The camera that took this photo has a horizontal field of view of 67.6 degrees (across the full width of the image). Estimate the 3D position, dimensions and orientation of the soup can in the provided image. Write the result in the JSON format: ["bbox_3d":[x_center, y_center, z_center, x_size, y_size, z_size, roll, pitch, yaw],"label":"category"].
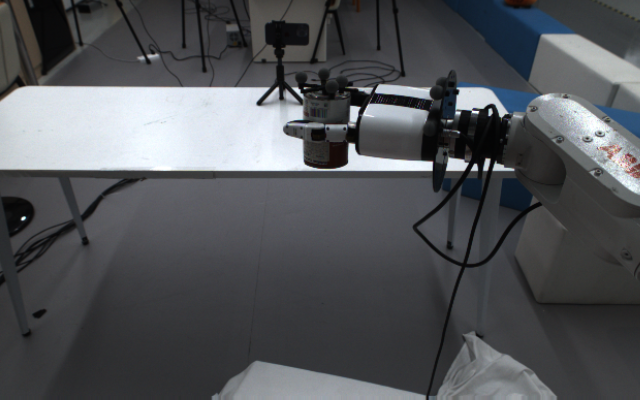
[{"bbox_3d":[0.009,-0.103,0.686,0.067,0.101,0.067,1,25,0],"label":"soup can"}]
